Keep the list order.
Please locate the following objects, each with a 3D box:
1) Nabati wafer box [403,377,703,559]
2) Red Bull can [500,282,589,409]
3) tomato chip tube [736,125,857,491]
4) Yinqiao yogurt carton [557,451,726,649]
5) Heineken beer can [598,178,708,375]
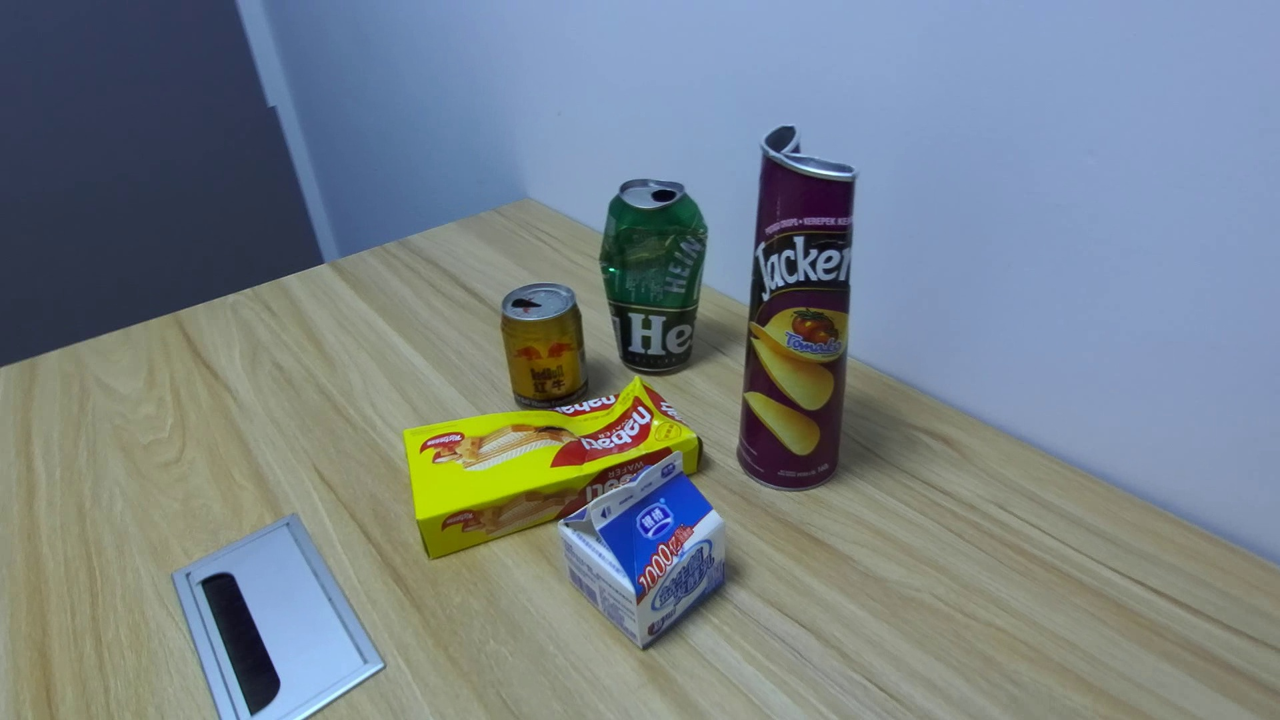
[{"bbox_3d":[-0.064,0.067,0.522,0.205,0.042,0.106,-14,37,-16],"label":"Nabati wafer box"},{"bbox_3d":[-0.079,-0.009,0.588,0.067,0.093,0.067,-2,34,2],"label":"Red Bull can"},{"bbox_3d":[0.105,-0.024,0.462,0.076,0.235,0.078,16,39,27],"label":"tomato chip tube"},{"bbox_3d":[0.002,0.101,0.418,0.076,0.092,0.073,-29,41,-32],"label":"Yinqiao yogurt carton"},{"bbox_3d":[0.010,-0.068,0.598,0.066,0.164,0.077,-25,44,-27],"label":"Heineken beer can"}]
